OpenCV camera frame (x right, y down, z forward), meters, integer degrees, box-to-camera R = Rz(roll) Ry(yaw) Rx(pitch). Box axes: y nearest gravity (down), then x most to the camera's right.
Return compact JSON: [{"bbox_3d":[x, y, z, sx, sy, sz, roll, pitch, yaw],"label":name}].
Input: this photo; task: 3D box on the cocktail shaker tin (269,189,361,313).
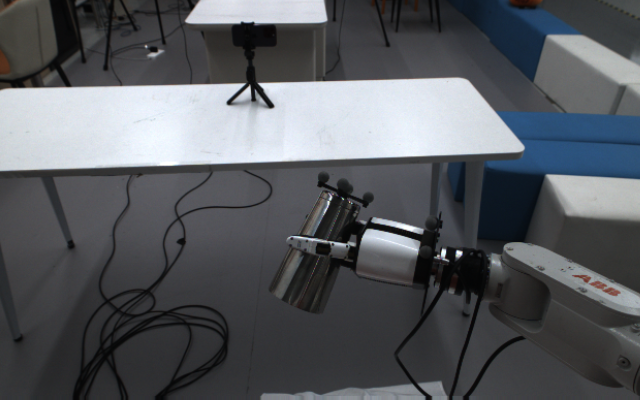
[{"bbox_3d":[-0.001,0.073,0.736,0.093,0.170,0.093,23,0,0],"label":"cocktail shaker tin"}]
